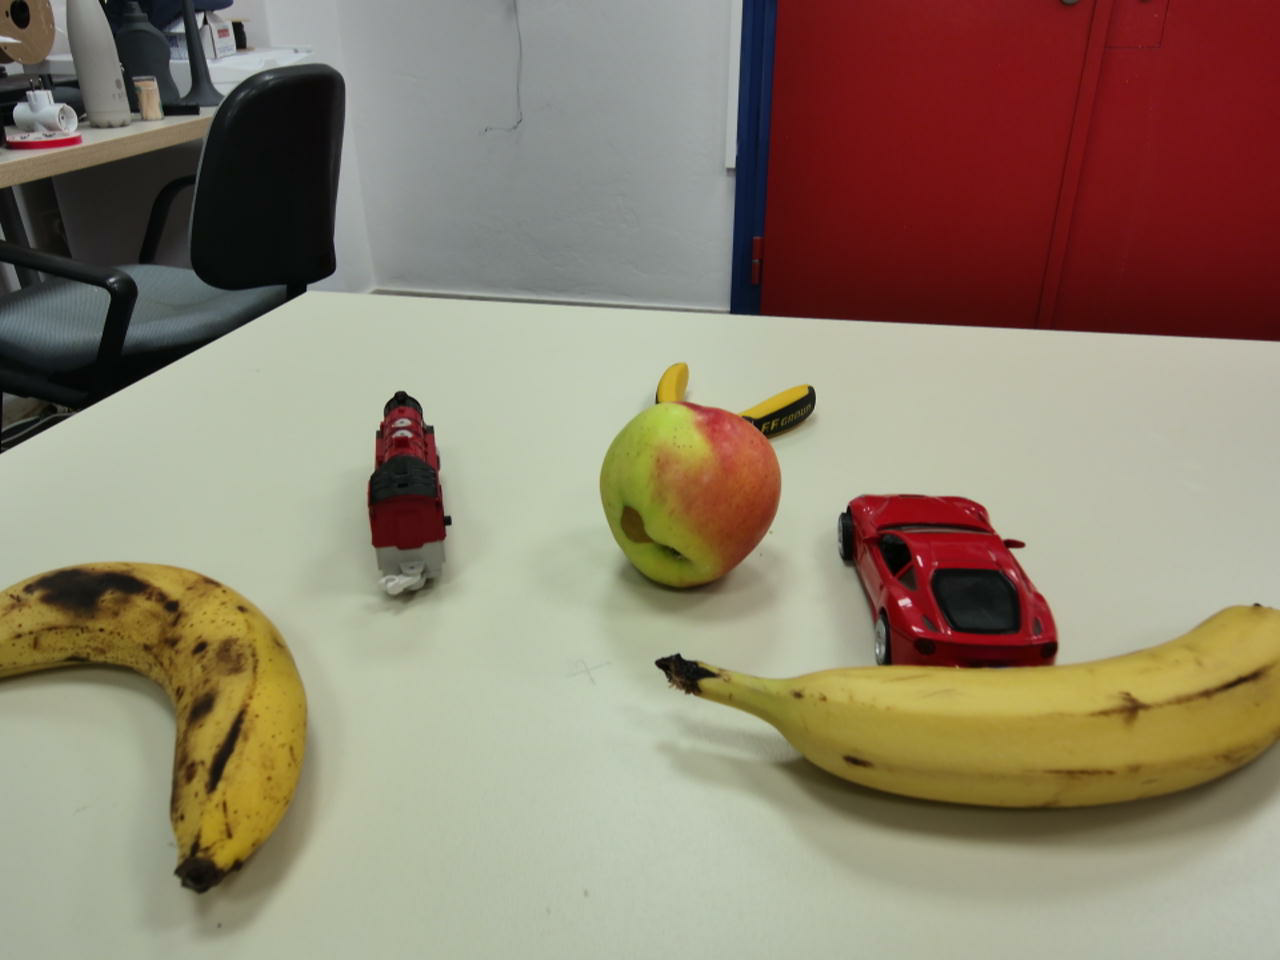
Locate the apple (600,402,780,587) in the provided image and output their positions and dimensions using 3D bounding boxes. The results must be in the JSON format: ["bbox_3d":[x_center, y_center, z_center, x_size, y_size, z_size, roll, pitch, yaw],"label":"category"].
[{"bbox_3d":[0.020,0.006,0.413,0.075,0.074,0.075,-3,24,-6],"label":"apple"}]
